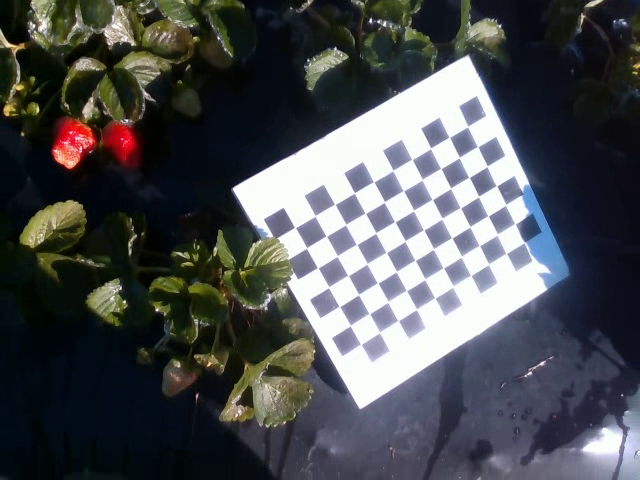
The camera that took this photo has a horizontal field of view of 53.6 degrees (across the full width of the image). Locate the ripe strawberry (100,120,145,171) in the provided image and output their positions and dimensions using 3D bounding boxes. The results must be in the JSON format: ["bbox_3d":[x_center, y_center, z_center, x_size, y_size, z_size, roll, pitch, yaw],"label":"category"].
[{"bbox_3d":[-0.227,-0.112,0.720,0.043,0.059,0.040,-31,5,-9],"label":"ripe strawberry"}]

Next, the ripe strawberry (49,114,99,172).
[{"bbox_3d":[-0.281,-0.108,0.718,0.052,0.070,0.040,17,-7,-20],"label":"ripe strawberry"}]
